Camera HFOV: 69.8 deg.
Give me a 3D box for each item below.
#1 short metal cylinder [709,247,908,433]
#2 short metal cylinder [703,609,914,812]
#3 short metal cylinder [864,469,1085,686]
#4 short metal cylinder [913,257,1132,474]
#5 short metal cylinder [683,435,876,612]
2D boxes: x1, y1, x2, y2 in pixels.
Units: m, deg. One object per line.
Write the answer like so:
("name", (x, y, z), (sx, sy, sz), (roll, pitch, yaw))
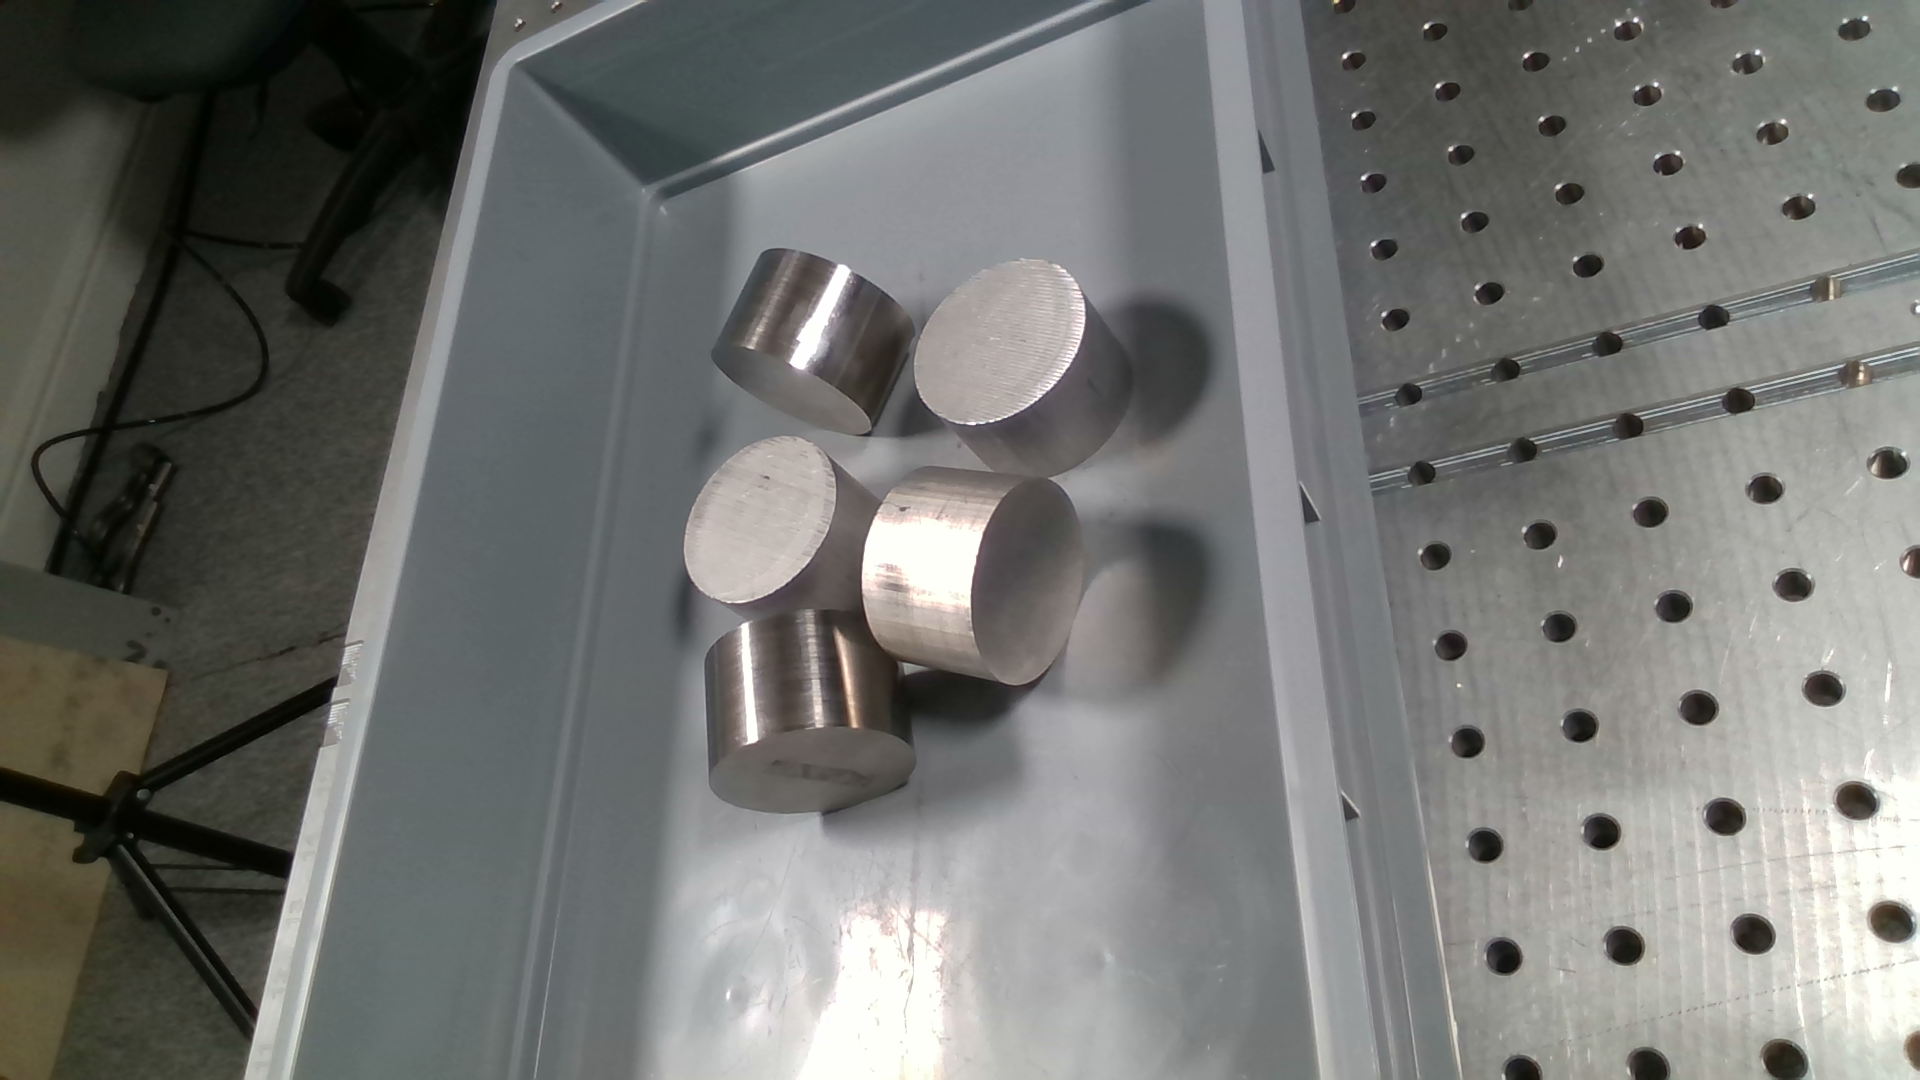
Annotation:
("short metal cylinder", (-0.069, -0.091, 0.639), (0.080, 0.080, 0.050), (14, 73, 36))
("short metal cylinder", (-0.061, 0.069, 0.549), (0.080, 0.080, 0.050), (-23, 56, 20))
("short metal cylinder", (0.007, 0.013, 0.539), (0.050, 0.080, 0.080), (8, 70, 34))
("short metal cylinder", (0.027, -0.073, 0.590), (0.080, 0.050, 0.080), (-14, 59, 25))
("short metal cylinder", (-0.076, 0.001, 0.614), (0.080, 0.050, 0.080), (-14, 59, 25))
